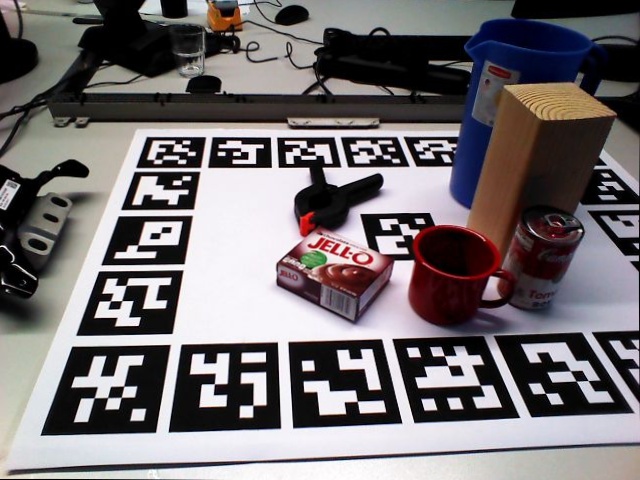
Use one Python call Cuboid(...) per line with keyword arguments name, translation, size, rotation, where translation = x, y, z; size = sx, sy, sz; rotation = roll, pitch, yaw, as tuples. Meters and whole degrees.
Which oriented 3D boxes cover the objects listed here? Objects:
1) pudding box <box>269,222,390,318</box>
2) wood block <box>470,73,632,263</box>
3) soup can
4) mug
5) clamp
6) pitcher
Cuboid(name="pudding box", translation=(0.011, 0.032, 0.608), size=(0.114, 0.039, 0.089), rotation=(23, 47, 26))
Cuboid(name="wood block", translation=(0.261, -0.080, 0.613), size=(0.090, 0.207, 0.090), rotation=(-1, 39, -8))
Cuboid(name="soup can", translation=(0.248, 0.017, 0.576), size=(0.068, 0.102, 0.067), rotation=(1, 42, -1))
Cuboid(name="mug", translation=(0.156, 0.040, 0.564), size=(0.117, 0.082, 0.092), rotation=(22, 41, 25))
Cuboid(name="clamp", translation=(0.022, -0.065, 0.737), size=(0.122, 0.037, 0.164), rotation=(23, 44, 14))
Cuboid(name="pitcher", translation=(0.278, -0.168, 0.698), size=(0.189, 0.243, 0.132), rotation=(-4, 37, -2))
